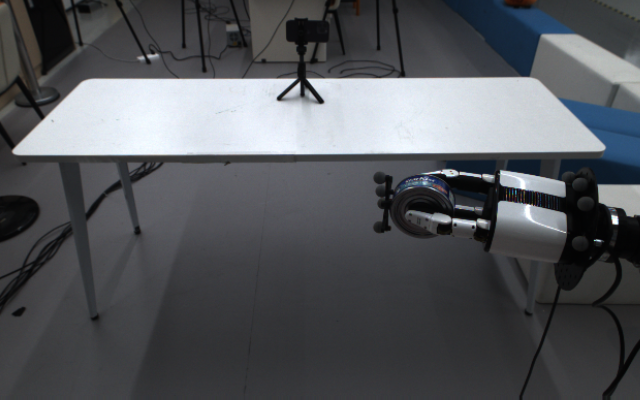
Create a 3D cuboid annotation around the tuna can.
[{"bbox_3d":[0.141,0.005,0.657,0.085,0.085,0.034,9,32,10],"label":"tuna can"}]
